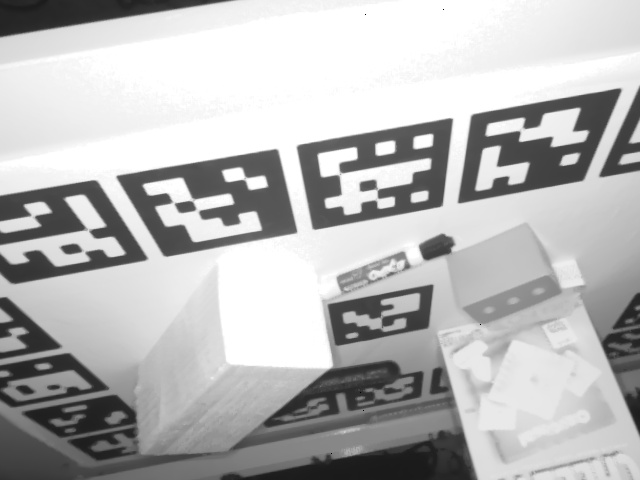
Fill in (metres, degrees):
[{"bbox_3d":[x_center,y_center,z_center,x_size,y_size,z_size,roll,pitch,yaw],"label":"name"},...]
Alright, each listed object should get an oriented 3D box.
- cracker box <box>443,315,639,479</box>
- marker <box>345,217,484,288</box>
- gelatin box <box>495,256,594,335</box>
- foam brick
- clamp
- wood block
[{"bbox_3d":[0.228,0.195,0.694,0.164,0.215,0.071,-11,144,2],"label":"cracker box"},{"bbox_3d":[0.079,0.010,0.582,0.120,0.020,0.020,-23,139,13],"label":"marker"},{"bbox_3d":[0.218,0.055,0.677,0.089,0.030,0.073,-11,141,-2],"label":"gelatin box"},{"bbox_3d":[0.172,0.024,0.602,0.077,0.051,0.053,-26,139,17],"label":"foam brick"},{"bbox_3d":[-0.023,0.167,0.740,0.200,0.037,0.166,-30,138,21],"label":"clamp"},{"bbox_3d":[-0.070,0.102,0.606,0.091,0.091,0.203,11,139,-31],"label":"wood block"}]
